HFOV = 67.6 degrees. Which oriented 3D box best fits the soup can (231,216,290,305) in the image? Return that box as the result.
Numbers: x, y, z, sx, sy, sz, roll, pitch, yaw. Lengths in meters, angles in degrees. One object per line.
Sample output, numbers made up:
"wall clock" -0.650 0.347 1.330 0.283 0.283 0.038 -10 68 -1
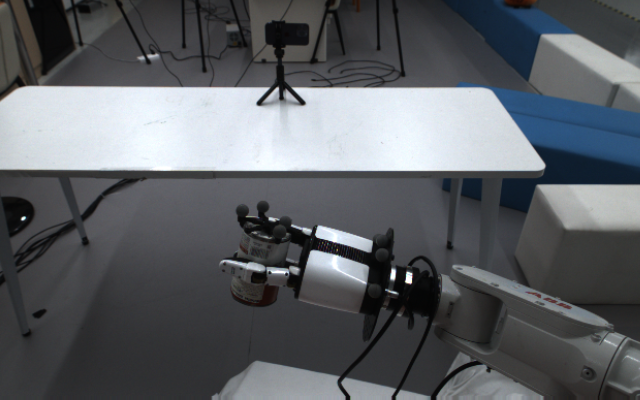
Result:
"soup can" -0.080 0.087 0.663 0.067 0.101 0.067 13 18 -4
